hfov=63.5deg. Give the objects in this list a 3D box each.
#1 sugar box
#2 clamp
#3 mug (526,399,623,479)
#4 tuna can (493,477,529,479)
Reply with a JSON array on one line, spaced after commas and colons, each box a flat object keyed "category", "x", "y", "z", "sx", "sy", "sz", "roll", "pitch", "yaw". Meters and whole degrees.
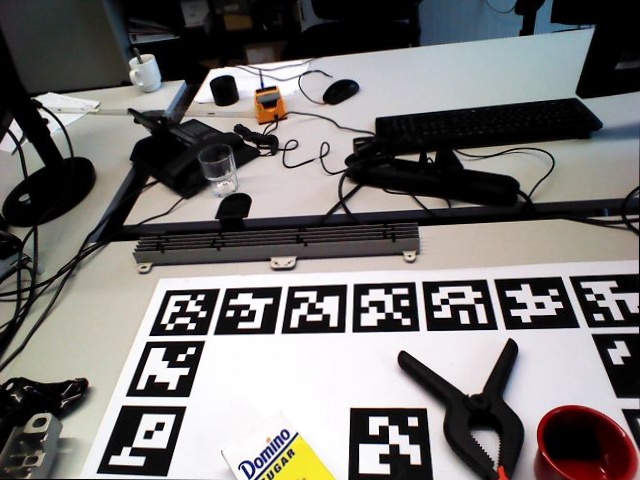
[{"category": "sugar box", "x": -0.033, "y": 0.285, "z": 0.604, "sx": 0.092, "sy": 0.045, "sz": 0.177, "roll": -29, "pitch": 39, "yaw": -18}, {"category": "clamp", "x": 0.199, "y": 0.208, "z": 0.661, "sx": 0.166, "sy": 0.037, "sz": 0.202, "roll": -10, "pitch": 43, "yaw": 2}, {"category": "mug", "x": 0.277, "y": 0.244, "z": 0.560, "sx": 0.093, "sy": 0.081, "sz": 0.117, "roll": -22, "pitch": 40, "yaw": -11}, {"category": "tuna can", "x": 0.213, "y": 0.280, "z": 0.529, "sx": 0.086, "sy": 0.086, "sz": 0.033, "roll": 9, "pitch": 46, "yaw": 22}]
